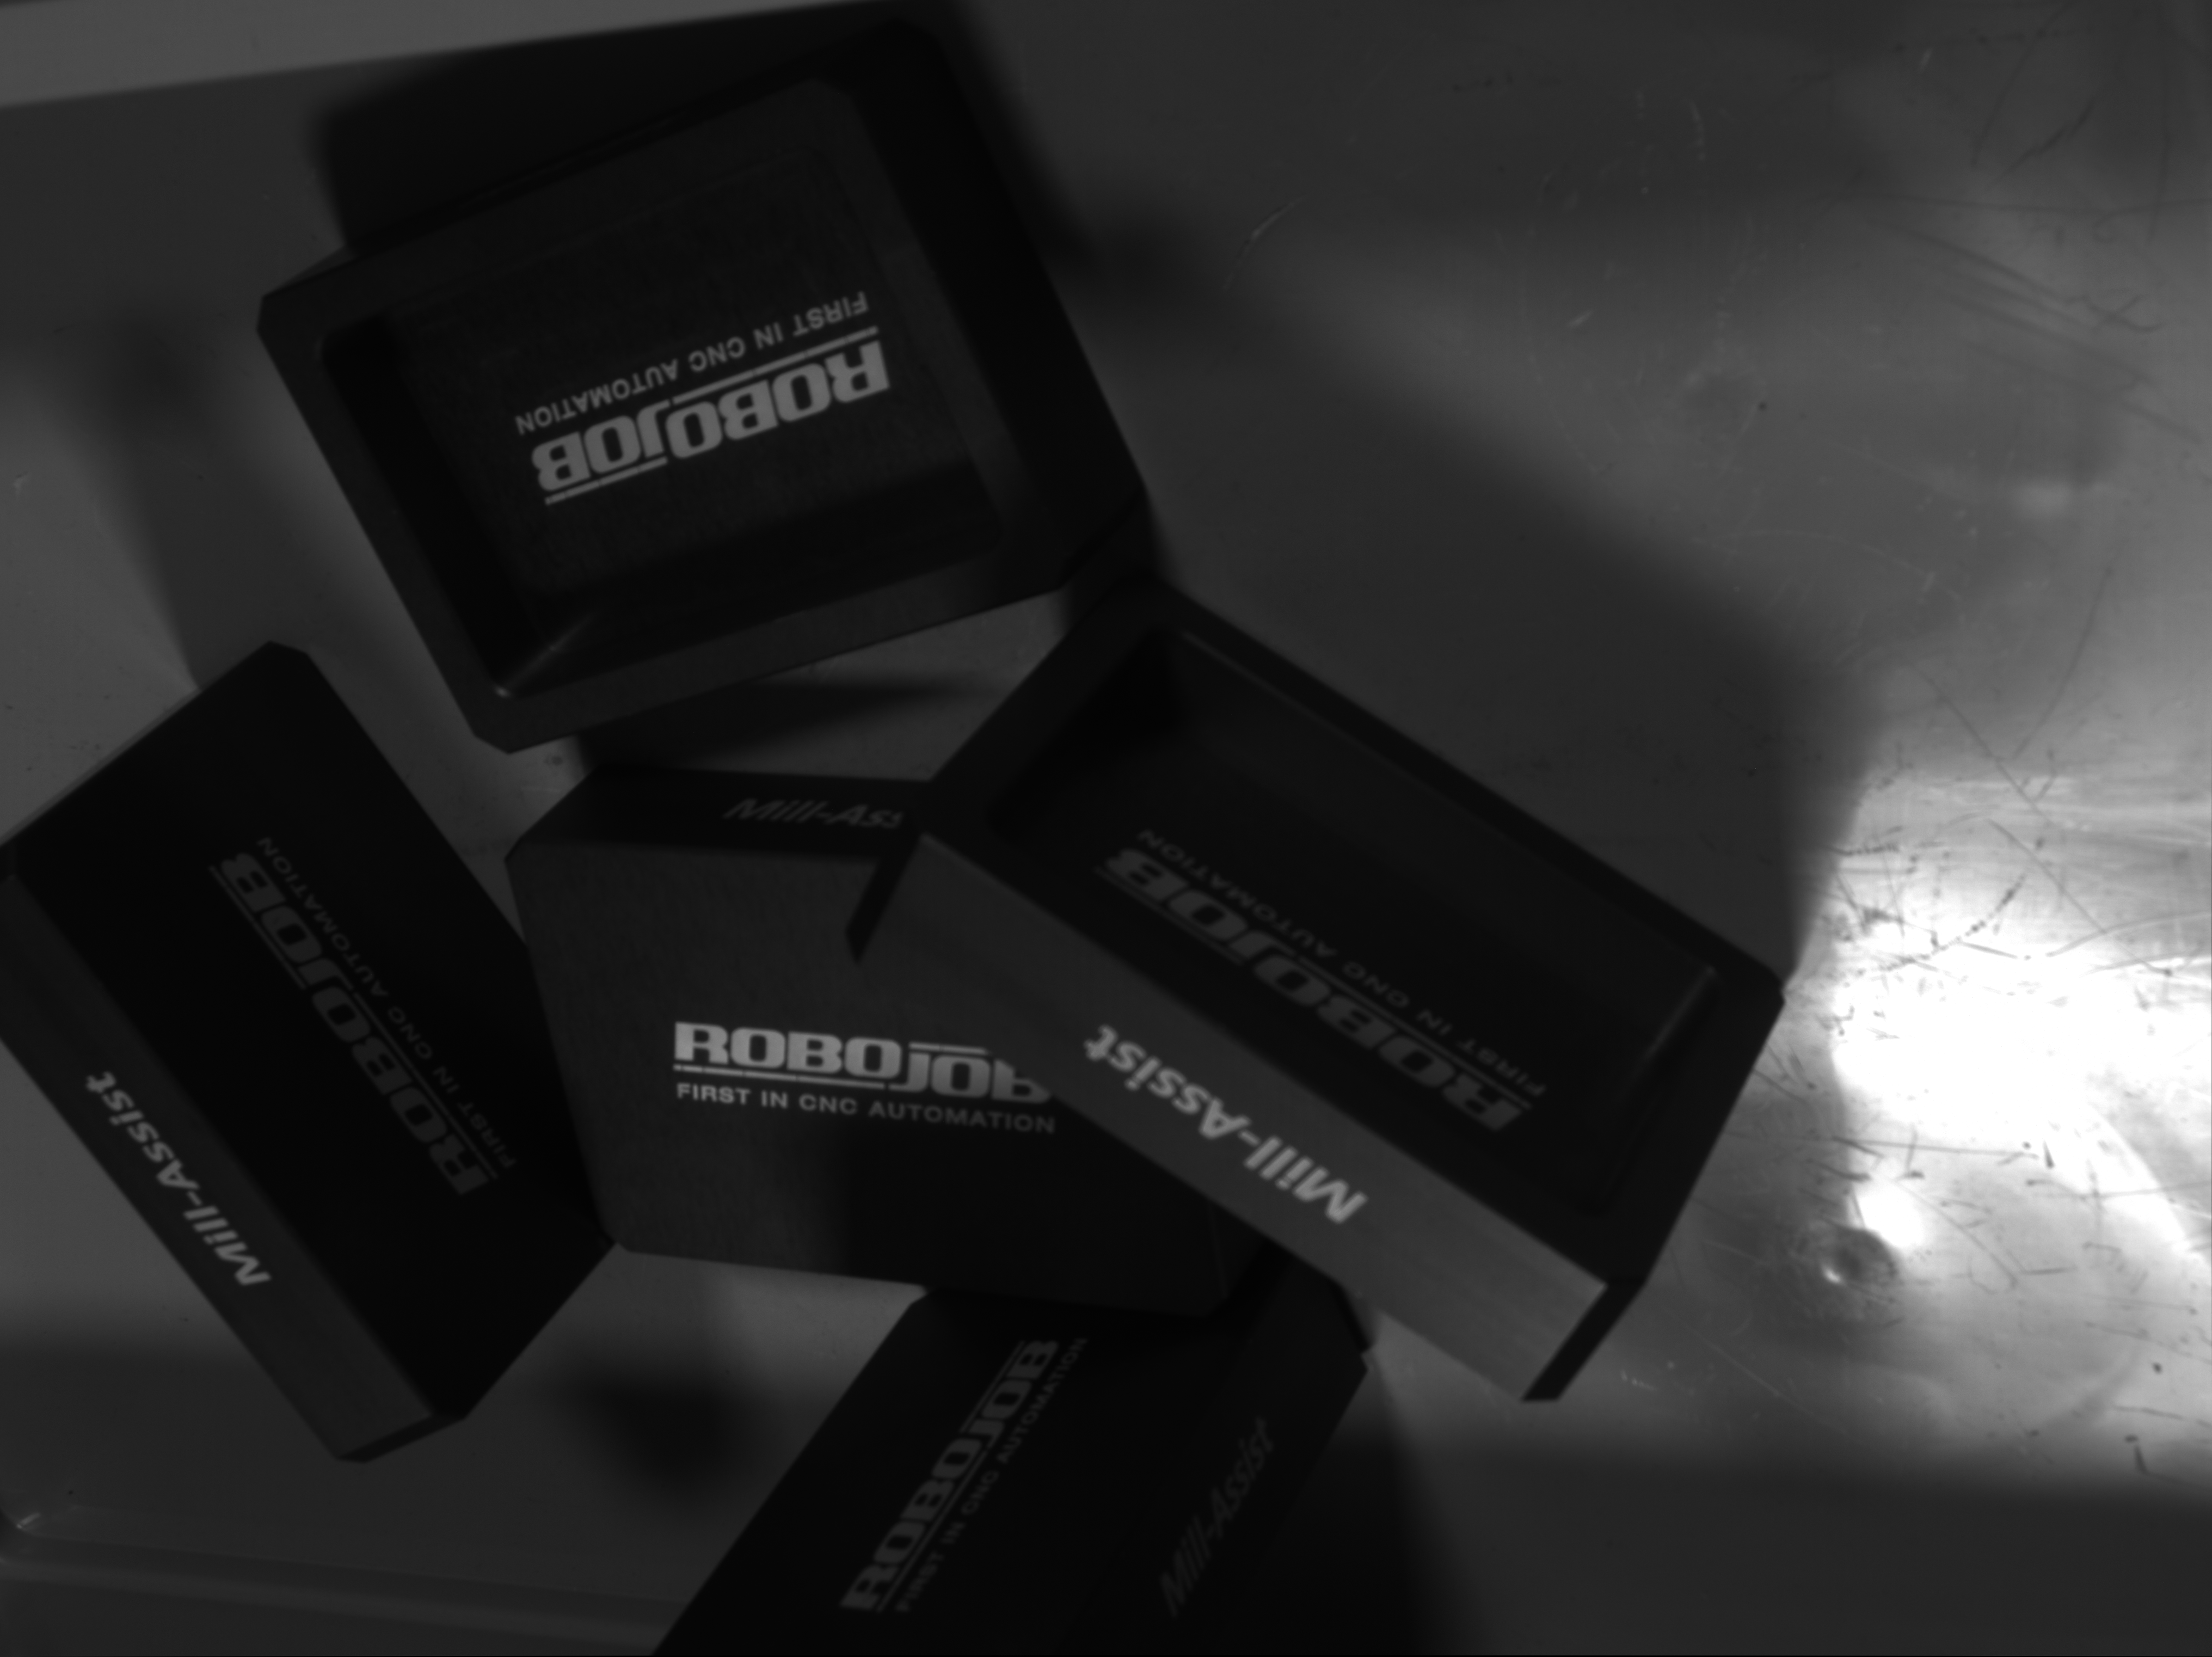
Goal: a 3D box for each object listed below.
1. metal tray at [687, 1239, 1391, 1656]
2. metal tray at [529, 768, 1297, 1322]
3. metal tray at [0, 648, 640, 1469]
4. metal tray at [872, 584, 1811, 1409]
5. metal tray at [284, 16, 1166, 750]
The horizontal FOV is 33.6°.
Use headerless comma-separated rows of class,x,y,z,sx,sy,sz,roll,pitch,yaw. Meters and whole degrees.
metal tray,-0.014,0.126,0.644,0.090,0.130,0.030,-13,112,32
metal tray,-0.034,0.038,0.664,0.130,0.030,0.090,3,120,25
metal tray,-0.143,0.042,0.684,0.030,0.090,0.130,-27,104,35
metal tray,0.040,0.023,0.581,0.130,0.090,0.030,33,128,5
metal tray,-0.065,-0.071,0.616,0.130,0.030,0.090,-14,111,32
